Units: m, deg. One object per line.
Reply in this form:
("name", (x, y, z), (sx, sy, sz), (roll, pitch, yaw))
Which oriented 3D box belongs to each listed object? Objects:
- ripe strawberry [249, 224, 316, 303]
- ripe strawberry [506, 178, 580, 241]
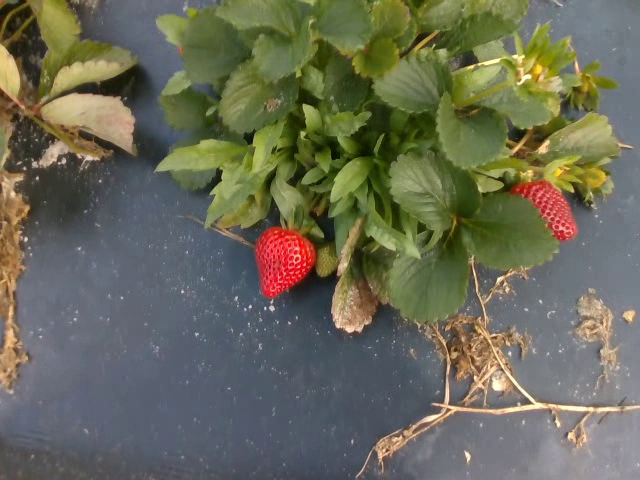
("ripe strawberry", (-0.025, 0.015, 0.387), (0.043, 0.051, 0.043), (17, -15, 6))
("ripe strawberry", (0.135, -0.014, 0.376), (0.046, 0.043, 0.046), (38, 14, 32))
